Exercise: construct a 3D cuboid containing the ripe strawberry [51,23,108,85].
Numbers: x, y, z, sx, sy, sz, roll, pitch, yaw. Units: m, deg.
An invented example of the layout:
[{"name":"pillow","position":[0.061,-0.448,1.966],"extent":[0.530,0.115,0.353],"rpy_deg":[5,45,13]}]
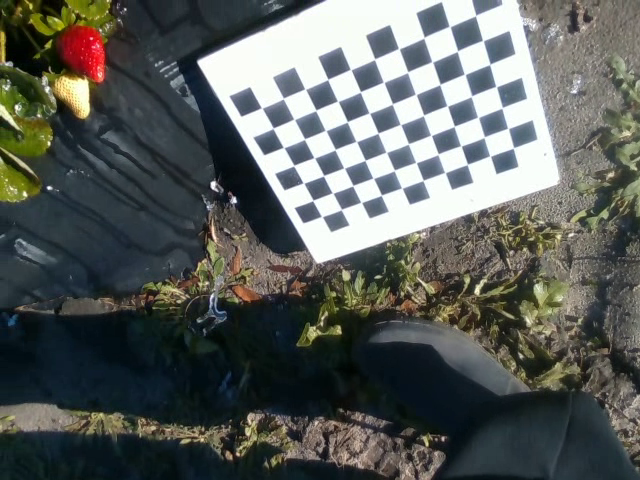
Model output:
[{"name":"ripe strawberry","position":[-0.210,-0.166,0.541],"extent":[0.042,0.061,0.046],"rpy_deg":[-32,-11,23]}]
